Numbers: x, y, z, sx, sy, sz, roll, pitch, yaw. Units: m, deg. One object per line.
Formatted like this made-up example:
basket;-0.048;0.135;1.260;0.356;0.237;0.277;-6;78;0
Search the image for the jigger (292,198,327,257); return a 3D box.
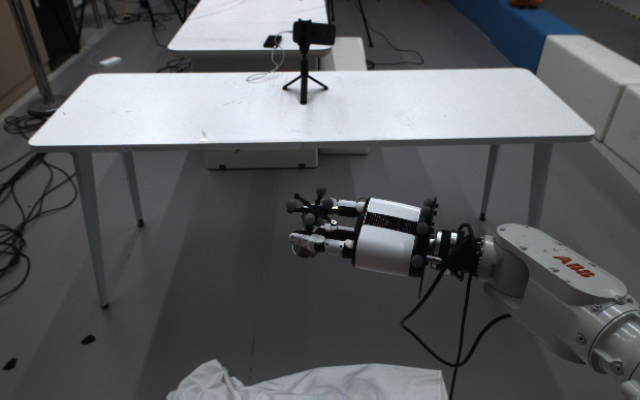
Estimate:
jigger;-0.019;0.054;0.784;0.043;0.071;0.043;10;36;-7
